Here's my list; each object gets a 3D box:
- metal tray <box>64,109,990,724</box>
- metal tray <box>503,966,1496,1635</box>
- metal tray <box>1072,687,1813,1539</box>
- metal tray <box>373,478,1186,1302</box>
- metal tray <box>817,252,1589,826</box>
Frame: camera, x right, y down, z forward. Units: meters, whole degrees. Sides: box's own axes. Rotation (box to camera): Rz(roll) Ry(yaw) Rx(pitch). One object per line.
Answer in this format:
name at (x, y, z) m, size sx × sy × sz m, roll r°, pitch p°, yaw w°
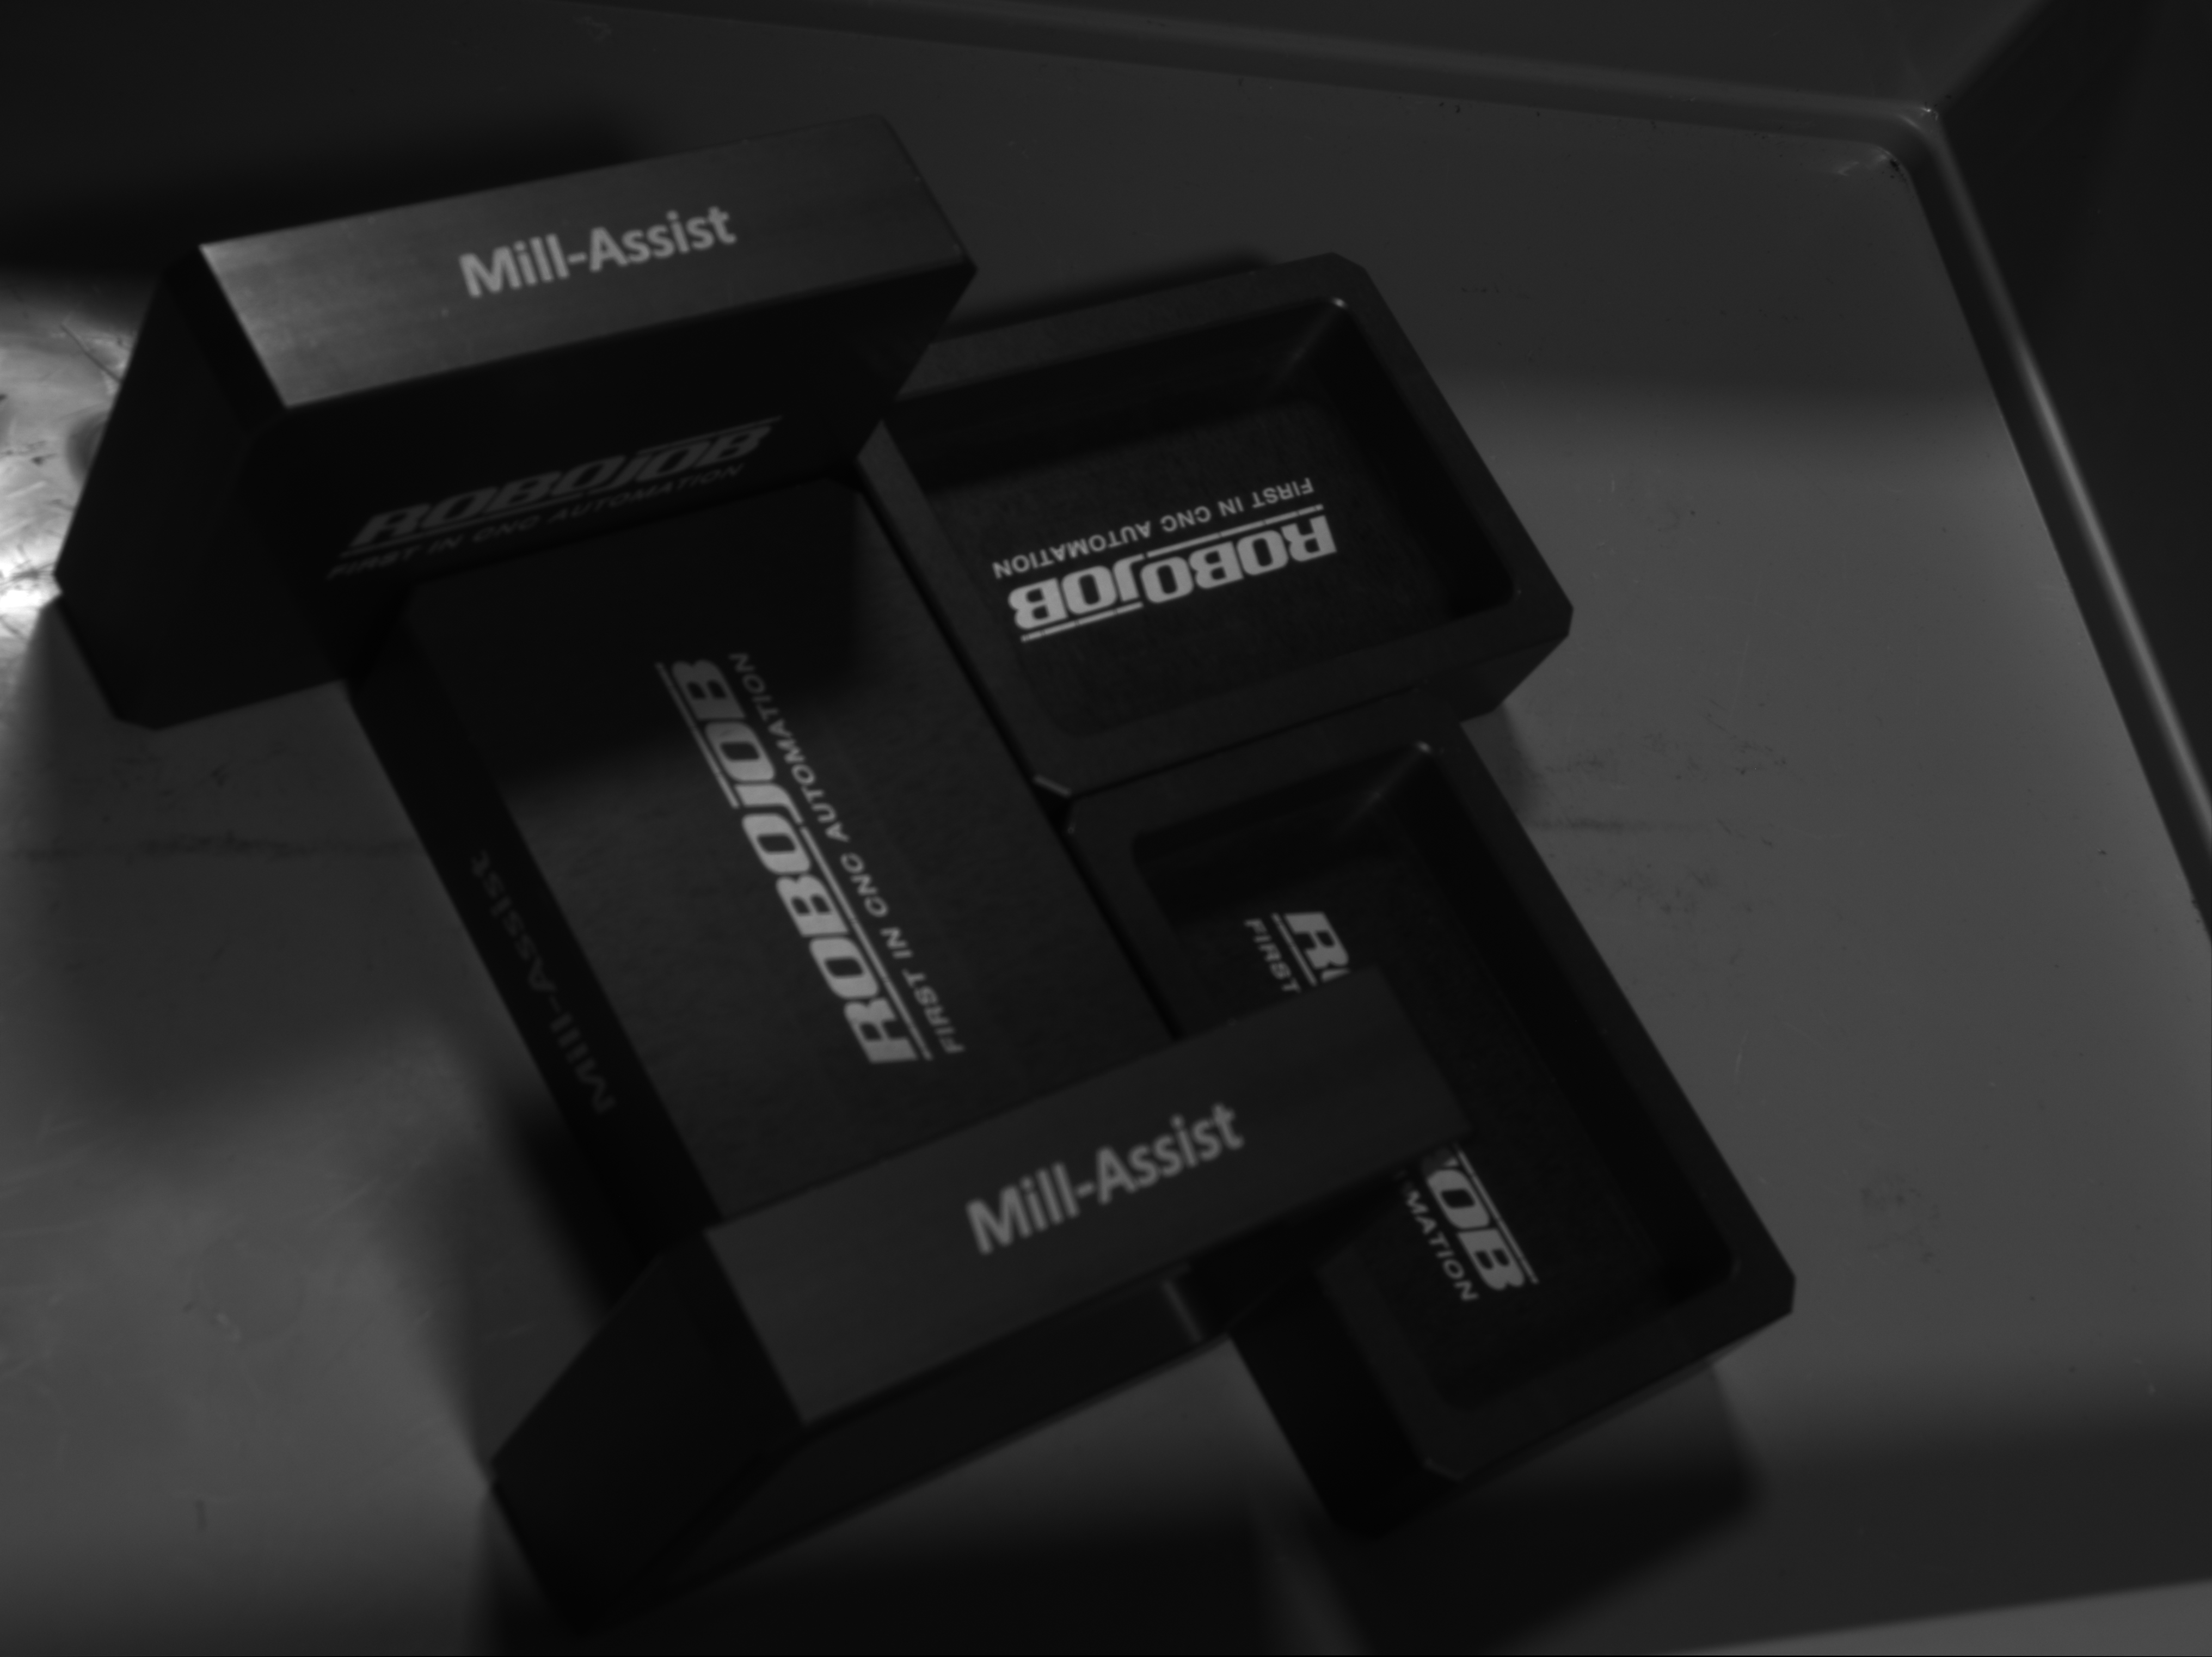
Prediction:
metal tray at (-0.092, -0.066, 0.585) m, size 0.130 × 0.090 × 0.030 m, roll -19°, pitch 72°, yaw -35°
metal tray at (-0.015, 0.070, 0.544) m, size 0.130 × 0.090 × 0.030 m, roll -18°, pitch 71°, yaw -35°
metal tray at (0.053, 0.046, 0.635) m, size 0.090 × 0.030 × 0.130 m, roll -19°, pitch 71°, yaw -35°
metal tray at (-0.051, 0.012, 0.599) m, size 0.090 × 0.030 × 0.130 m, roll -19°, pitch 71°, yaw -35°
metal tray at (0.016, -0.052, 0.675) m, size 0.130 × 0.030 × 0.090 m, roll -18°, pitch 71°, yaw -35°
